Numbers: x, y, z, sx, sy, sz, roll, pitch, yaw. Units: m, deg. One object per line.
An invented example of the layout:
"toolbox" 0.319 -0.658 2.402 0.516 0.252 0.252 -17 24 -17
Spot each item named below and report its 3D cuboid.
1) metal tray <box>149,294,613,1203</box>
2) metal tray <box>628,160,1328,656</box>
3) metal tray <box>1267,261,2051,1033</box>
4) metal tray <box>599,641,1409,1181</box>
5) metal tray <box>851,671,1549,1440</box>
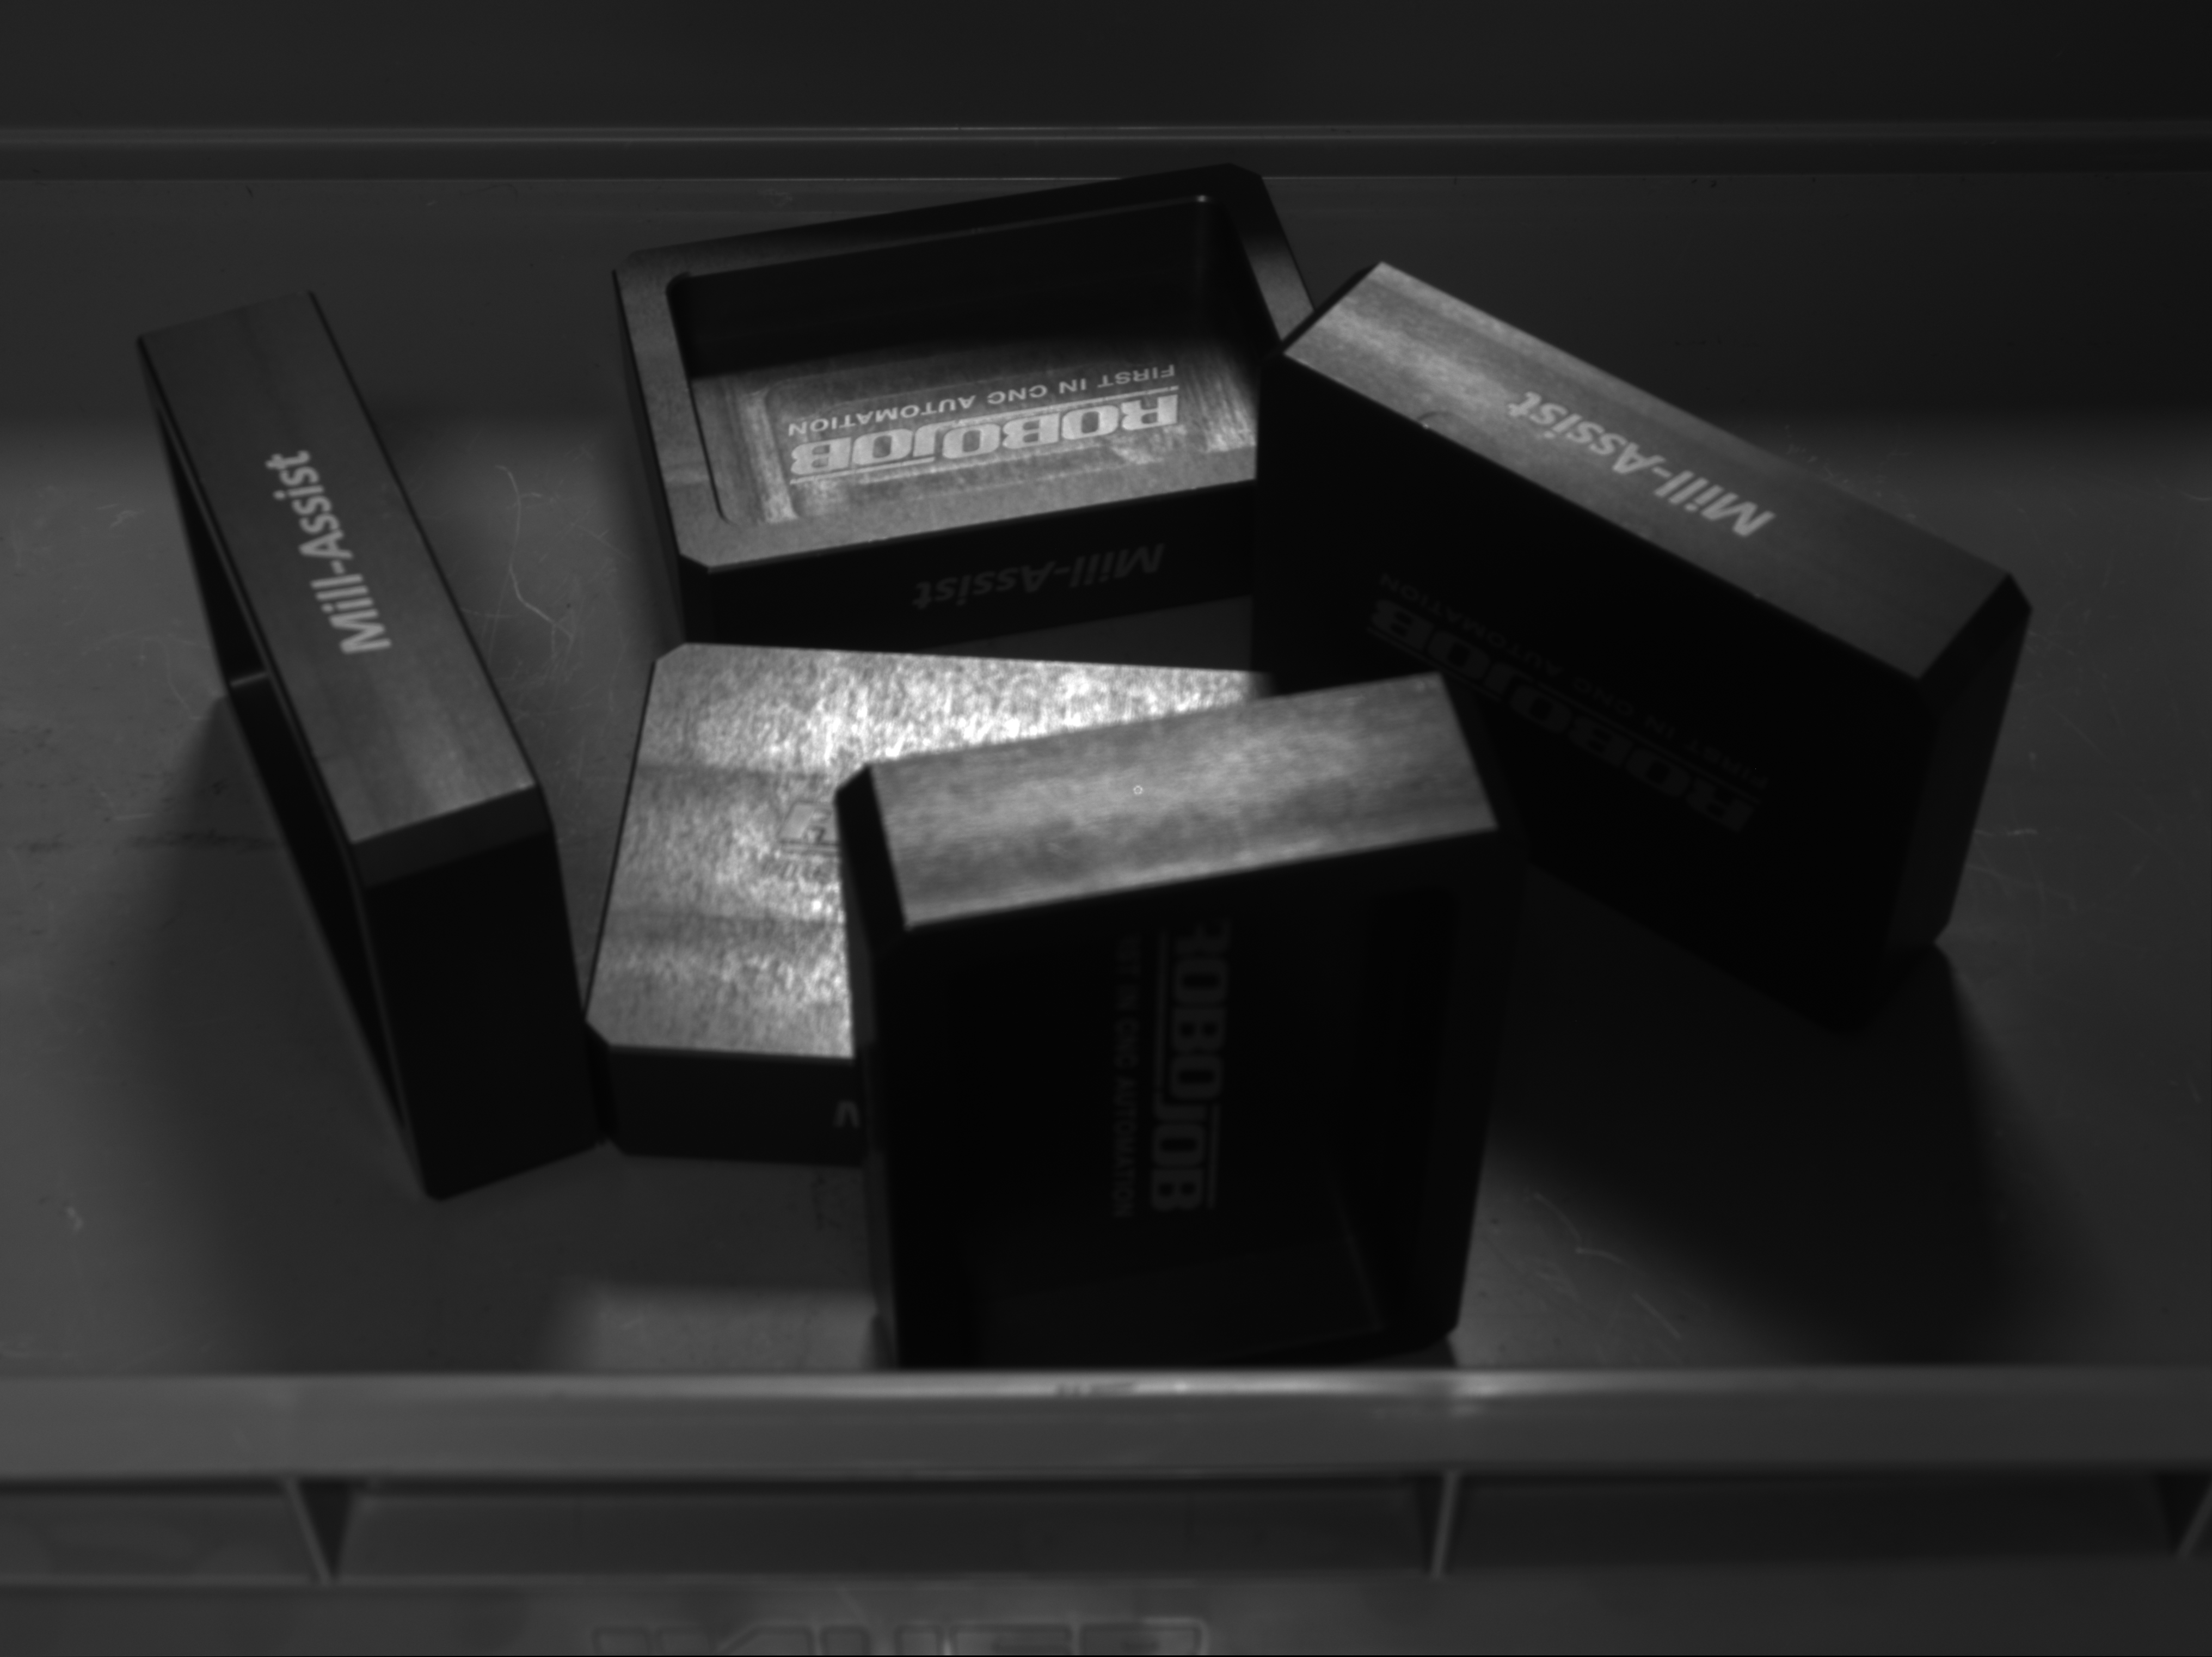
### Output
"metal tray" -0.121 -0.014 0.610 0.030 0.090 0.130 -18 53 -16
"metal tray" -0.020 -0.080 0.705 0.130 0.030 0.090 -10 51 -9
"metal tray" 0.089 -0.030 0.623 0.130 0.090 0.030 31 57 24
"metal tray" -0.014 0.013 0.624 0.130 0.030 0.090 3 50 2
"metal tray" 0.012 0.037 0.539 0.090 0.130 0.030 -9 51 -8
